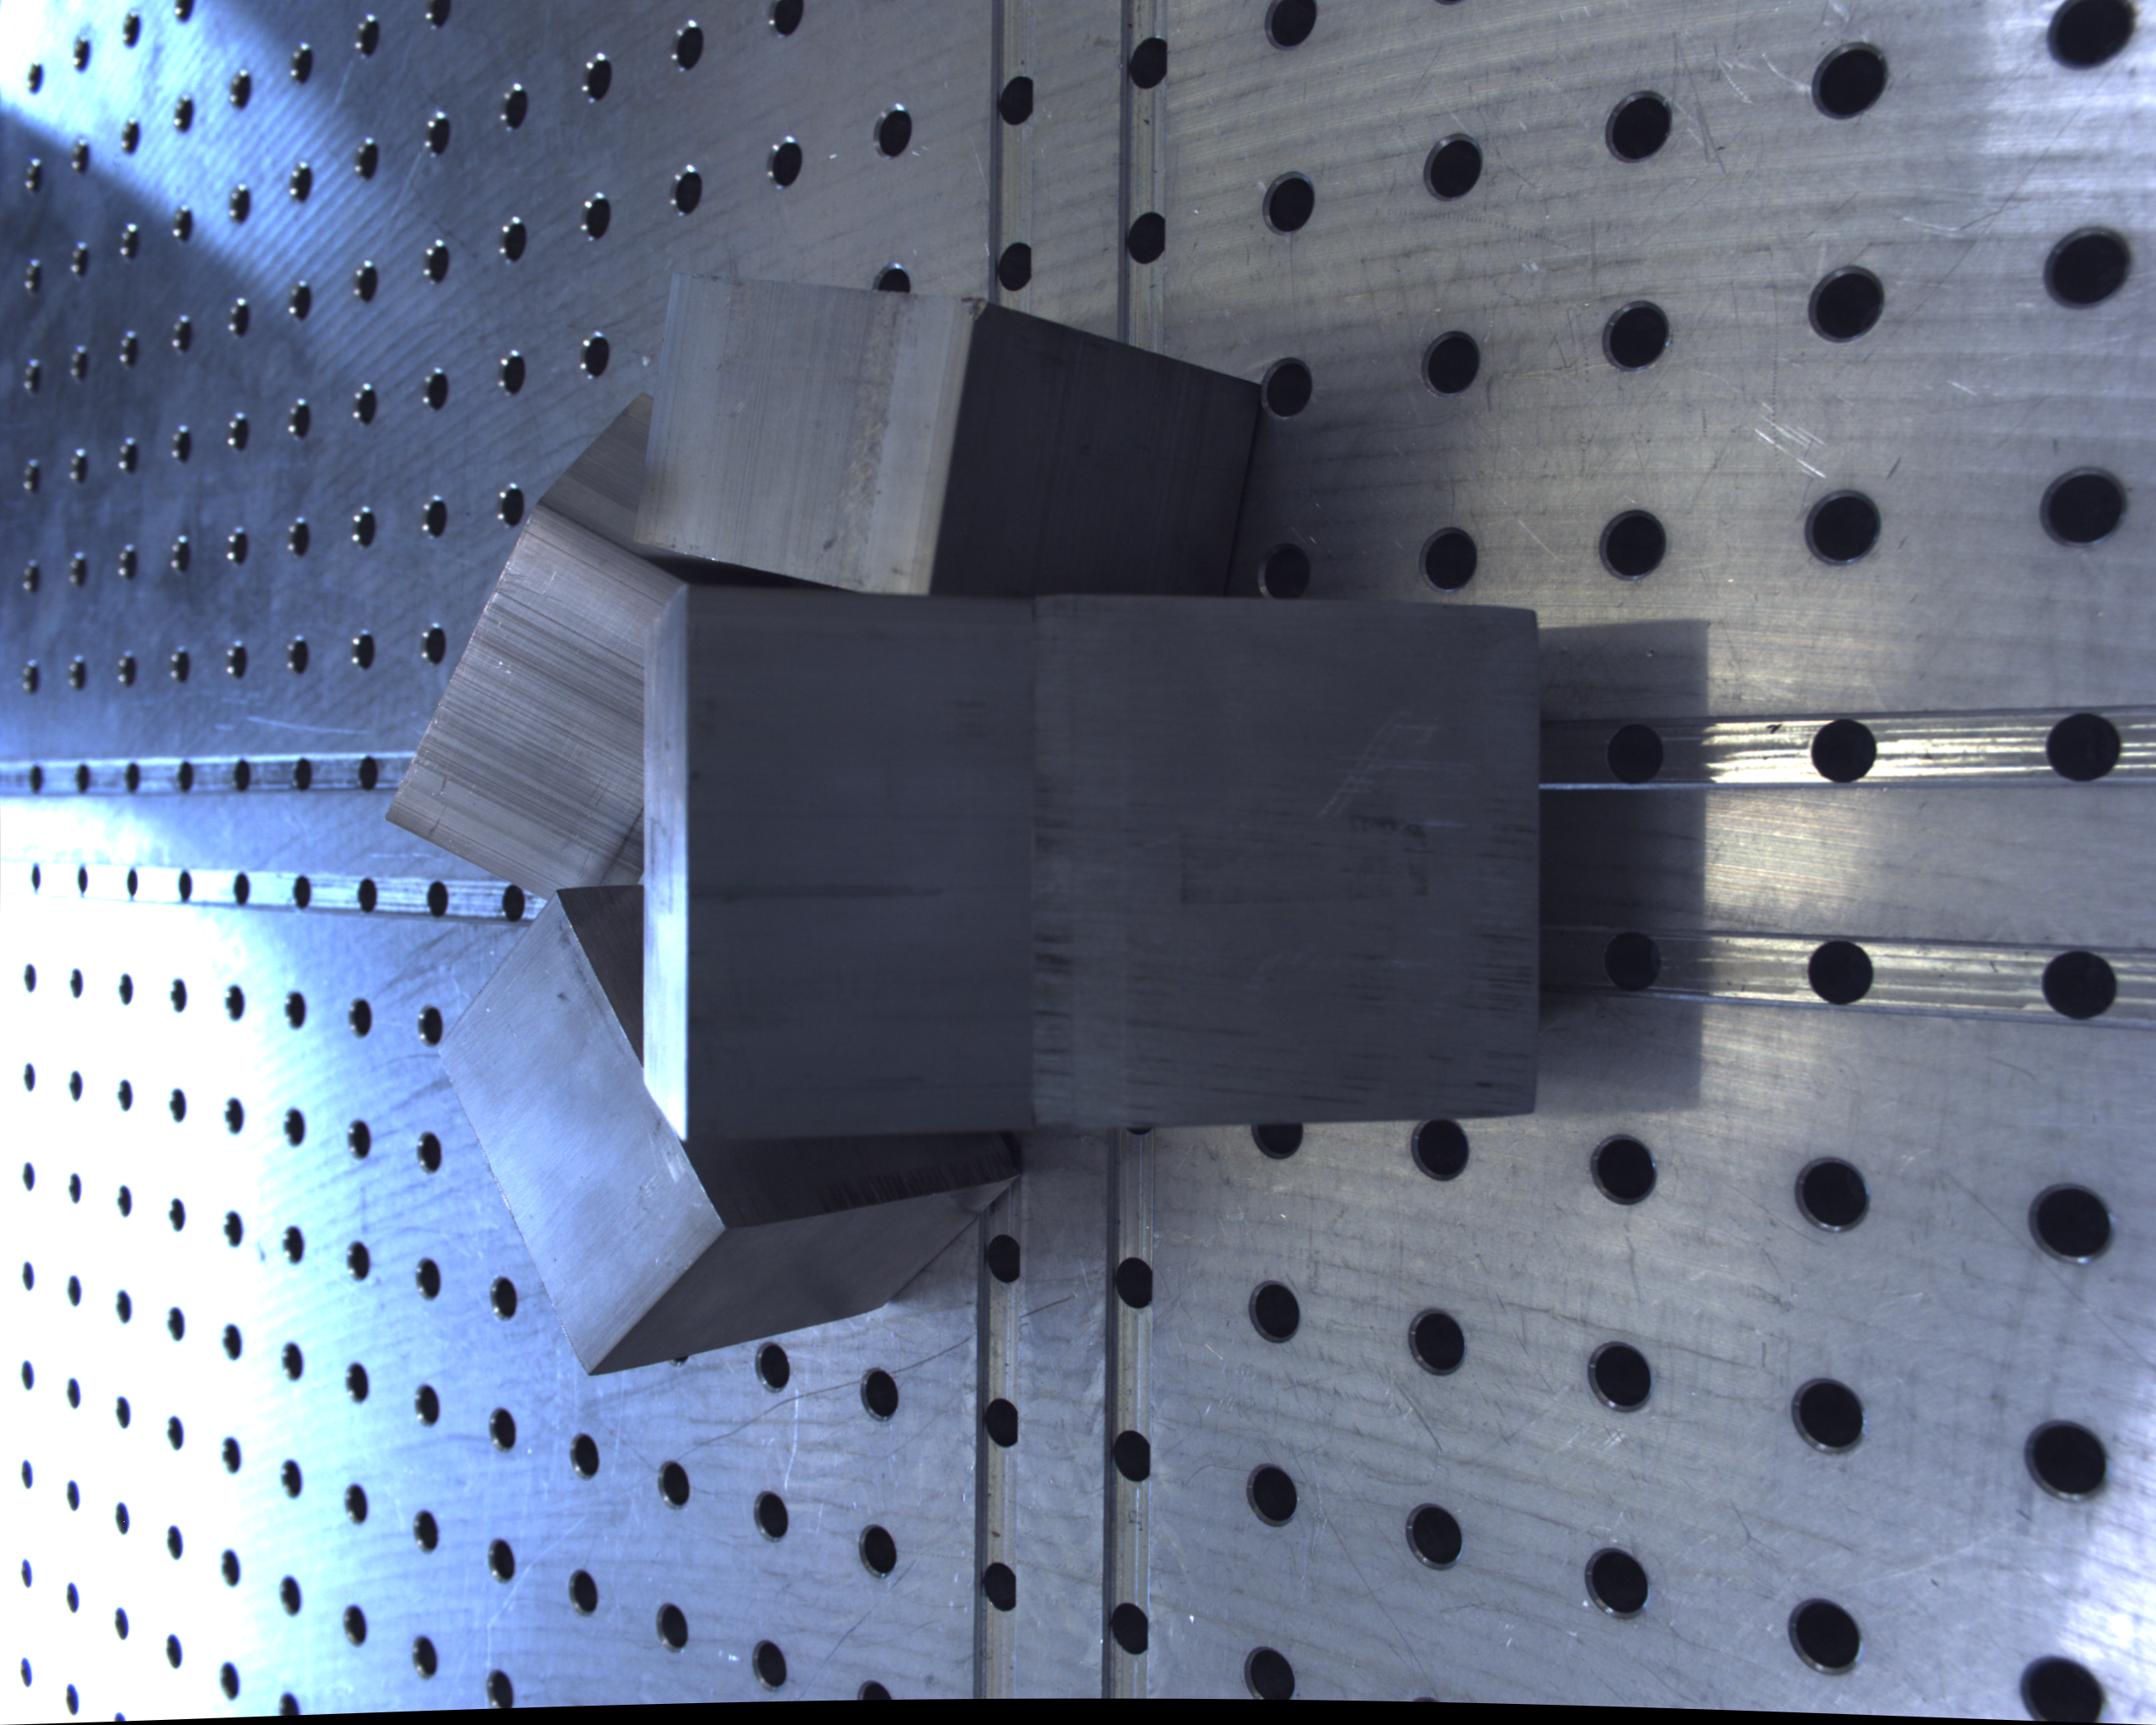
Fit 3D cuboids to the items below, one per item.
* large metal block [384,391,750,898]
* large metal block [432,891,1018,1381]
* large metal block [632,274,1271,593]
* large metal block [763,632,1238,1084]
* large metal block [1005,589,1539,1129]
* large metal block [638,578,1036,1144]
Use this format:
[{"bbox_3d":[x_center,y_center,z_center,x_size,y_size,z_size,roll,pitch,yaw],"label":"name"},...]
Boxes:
[{"bbox_3d":[-0.096,-0.045,0.446,0.050,0.080,0.080,29,116,-11],"label":"large metal block"},{"bbox_3d":[-0.073,0.052,0.433,0.050,0.081,0.080,-47,63,29],"label":"large metal block"},{"bbox_3d":[-0.024,-0.075,0.394,0.080,0.081,0.050,17,101,39],"label":"large metal block"},{"bbox_3d":[-0.016,-0.002,0.407,0.080,0.050,0.080,1,91,40],"label":"large metal block"},{"bbox_3d":[0.027,0.000,0.341,0.050,0.081,0.080,179,92,-77],"label":"large metal block"},{"bbox_3d":[-0.042,0.000,0.338,0.080,0.050,0.080,-179,91,-74],"label":"large metal block"}]
